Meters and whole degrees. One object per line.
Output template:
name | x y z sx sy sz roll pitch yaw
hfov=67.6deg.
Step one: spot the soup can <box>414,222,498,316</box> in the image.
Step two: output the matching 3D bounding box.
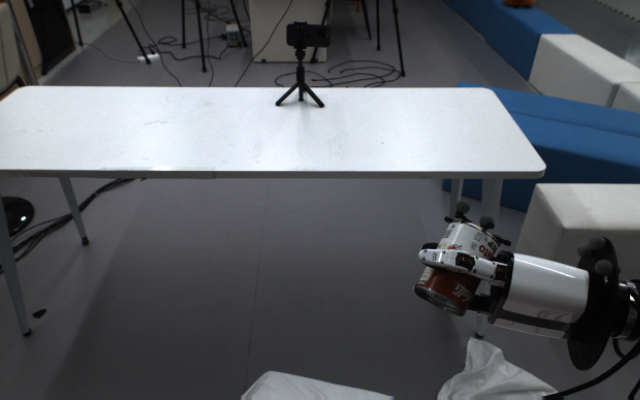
soup can | 0.174 0.084 0.610 0.067 0.067 0.101 24 73 28
